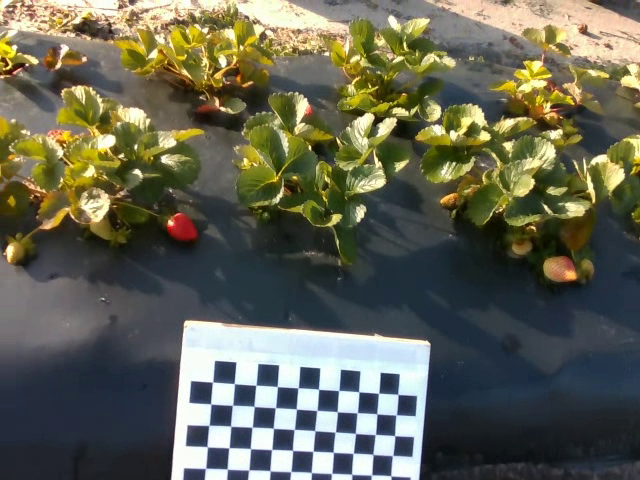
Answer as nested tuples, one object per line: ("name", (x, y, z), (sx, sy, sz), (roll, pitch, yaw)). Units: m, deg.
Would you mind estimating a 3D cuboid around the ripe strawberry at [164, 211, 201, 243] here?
("ripe strawberry", (-0.149, -0.013, 0.664), (0.044, 0.030, 0.033), (35, -1, 20))
